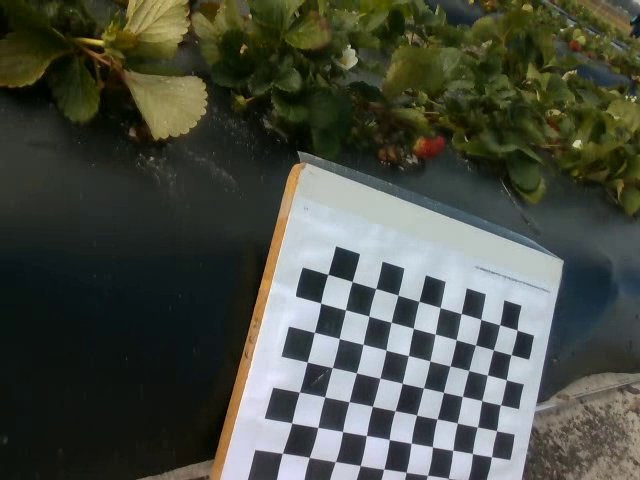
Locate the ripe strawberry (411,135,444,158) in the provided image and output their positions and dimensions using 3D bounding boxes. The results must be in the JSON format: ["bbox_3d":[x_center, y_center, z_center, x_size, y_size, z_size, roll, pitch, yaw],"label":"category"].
[{"bbox_3d":[0.076,-0.070,0.441,0.027,0.022,0.021,-10,15,-18],"label":"ripe strawberry"}]
